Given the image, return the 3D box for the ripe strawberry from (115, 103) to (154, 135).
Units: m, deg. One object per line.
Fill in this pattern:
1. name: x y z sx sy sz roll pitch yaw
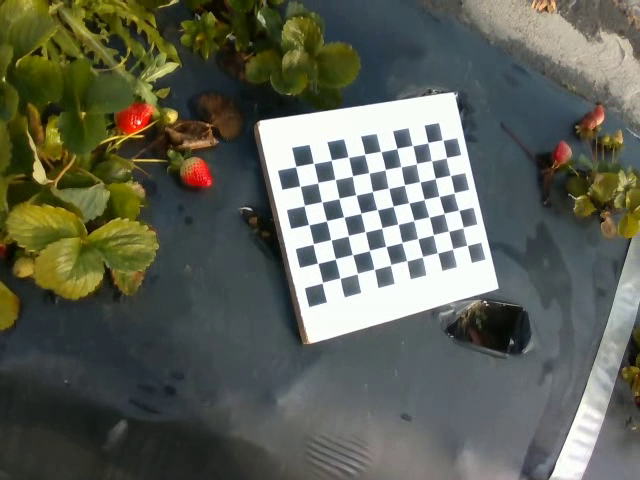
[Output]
1. ripe strawberry: -0.201 -0.136 0.692 0.048 0.040 0.031 -24 5 20

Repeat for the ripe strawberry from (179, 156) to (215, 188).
1. ripe strawberry: -0.138 -0.075 0.714 0.043 0.035 0.029 41 -19 -9
